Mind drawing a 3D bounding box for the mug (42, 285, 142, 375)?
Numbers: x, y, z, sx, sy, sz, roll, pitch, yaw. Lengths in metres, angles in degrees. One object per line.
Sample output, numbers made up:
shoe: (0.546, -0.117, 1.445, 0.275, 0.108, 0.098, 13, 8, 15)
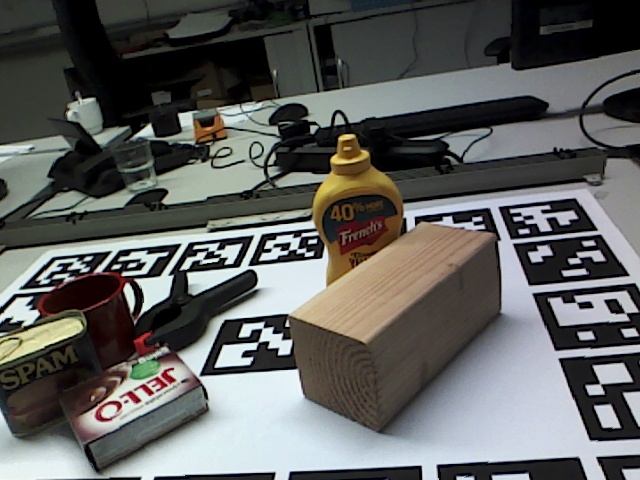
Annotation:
mug: (-0.244, 0.103, 0.699, 0.094, 0.081, 0.117, 5, 32, 29)

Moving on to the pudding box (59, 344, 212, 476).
pudding box: (-0.170, 0.153, 0.571, 0.113, 0.038, 0.090, -24, 29, -28)

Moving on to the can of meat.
can of meat: (-0.269, 0.129, 0.593, 0.101, 0.083, 0.058, -20, 29, -19)

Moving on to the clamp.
clamp: (-0.159, 0.080, 0.723, 0.122, 0.036, 0.165, 4, 32, 25)

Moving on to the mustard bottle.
mustard bottle: (0.037, -0.018, 0.655, 0.096, 0.191, 0.058, -9, 27, 5)

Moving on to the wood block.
wood block: (0.079, 0.074, 0.580, 0.090, 0.091, 0.205, 12, 32, 42)
